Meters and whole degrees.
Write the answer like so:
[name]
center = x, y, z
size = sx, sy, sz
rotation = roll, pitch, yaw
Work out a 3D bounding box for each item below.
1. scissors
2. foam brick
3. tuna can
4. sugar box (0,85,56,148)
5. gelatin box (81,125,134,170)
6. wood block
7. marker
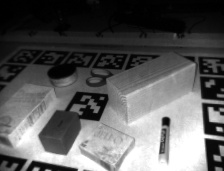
[scissors]
center = 0.007, -0.018, 0.646
size = 0.201, 0.016, 0.088
rotation = 7, 42, 21
[foam brick]
center = -0.108, 0.107, 0.478
size = 0.052, 0.052, 0.078
rotation = 5, 42, 17
[tuna can]
center = -0.163, -0.033, 0.673
size = 0.085, 0.034, 0.085
rotation = -5, 40, 5
[sugar box]
center = -0.230, 0.072, 0.555
size = 0.092, 0.045, 0.177
rotation = 8, 42, 18
[gelatin box]
center = -0.009, 0.130, 0.455
size = 0.088, 0.030, 0.074
rotation = 18, 46, 29
[wood block]
center = 0.100, 0.003, 0.550
size = 0.208, 0.091, 0.088
rotation = -26, 41, -21
[marker]
center = 0.107, 0.114, 0.461
size = 0.019, 0.020, 0.121
rotation = 5, 43, 16
